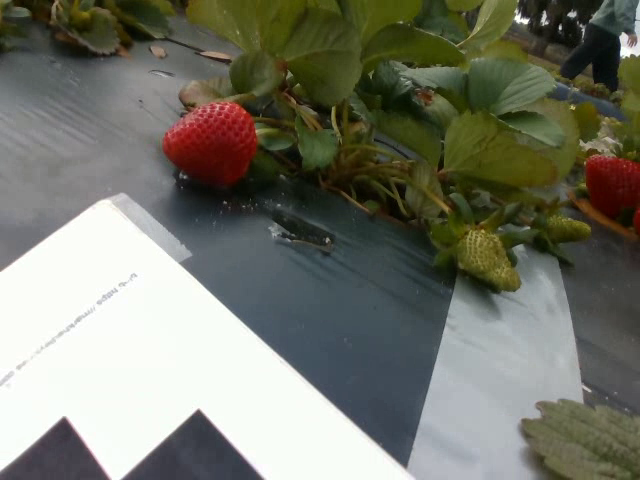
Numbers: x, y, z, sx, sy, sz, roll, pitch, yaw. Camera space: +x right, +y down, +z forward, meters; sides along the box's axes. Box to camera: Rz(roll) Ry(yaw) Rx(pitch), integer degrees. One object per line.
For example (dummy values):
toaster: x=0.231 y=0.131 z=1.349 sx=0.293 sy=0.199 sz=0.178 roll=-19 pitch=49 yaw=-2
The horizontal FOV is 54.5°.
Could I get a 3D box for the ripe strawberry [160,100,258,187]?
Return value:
ripe strawberry: x=-0.043 y=-0.040 z=0.247 sx=0.036 sy=0.040 sz=0.046 roll=11 pitch=8 yaw=38
